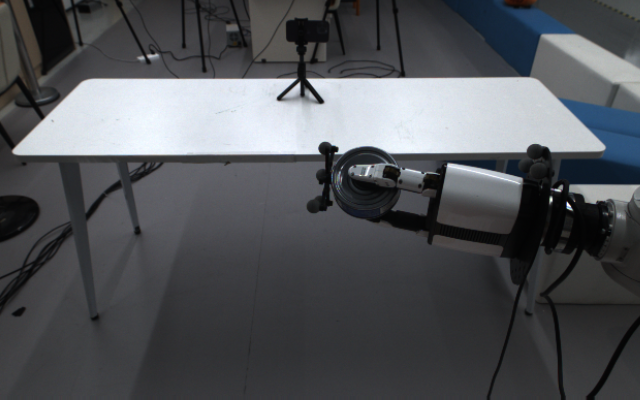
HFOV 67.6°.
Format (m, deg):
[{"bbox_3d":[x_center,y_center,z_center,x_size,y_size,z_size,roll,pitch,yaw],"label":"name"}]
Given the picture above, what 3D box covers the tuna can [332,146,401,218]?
[{"bbox_3d":[0.060,-0.019,0.591,0.085,0.034,0.085,-2,69,5],"label":"tuna can"}]
